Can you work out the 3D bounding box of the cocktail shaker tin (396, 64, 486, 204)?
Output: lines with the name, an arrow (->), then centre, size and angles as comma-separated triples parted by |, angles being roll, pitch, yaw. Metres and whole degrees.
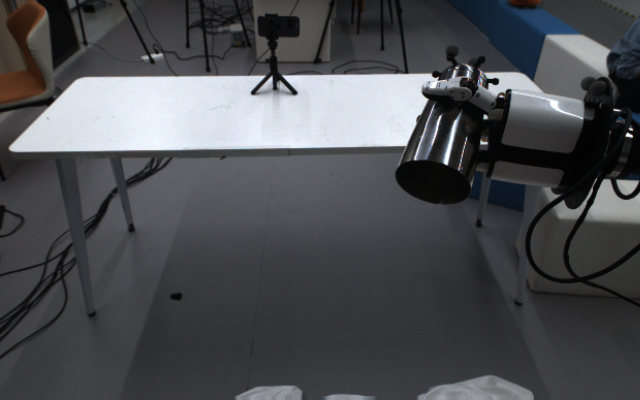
cocktail shaker tin -> 0.165, -0.091, 0.615 | 0.093, 0.093, 0.170 | 15, 63, 17
